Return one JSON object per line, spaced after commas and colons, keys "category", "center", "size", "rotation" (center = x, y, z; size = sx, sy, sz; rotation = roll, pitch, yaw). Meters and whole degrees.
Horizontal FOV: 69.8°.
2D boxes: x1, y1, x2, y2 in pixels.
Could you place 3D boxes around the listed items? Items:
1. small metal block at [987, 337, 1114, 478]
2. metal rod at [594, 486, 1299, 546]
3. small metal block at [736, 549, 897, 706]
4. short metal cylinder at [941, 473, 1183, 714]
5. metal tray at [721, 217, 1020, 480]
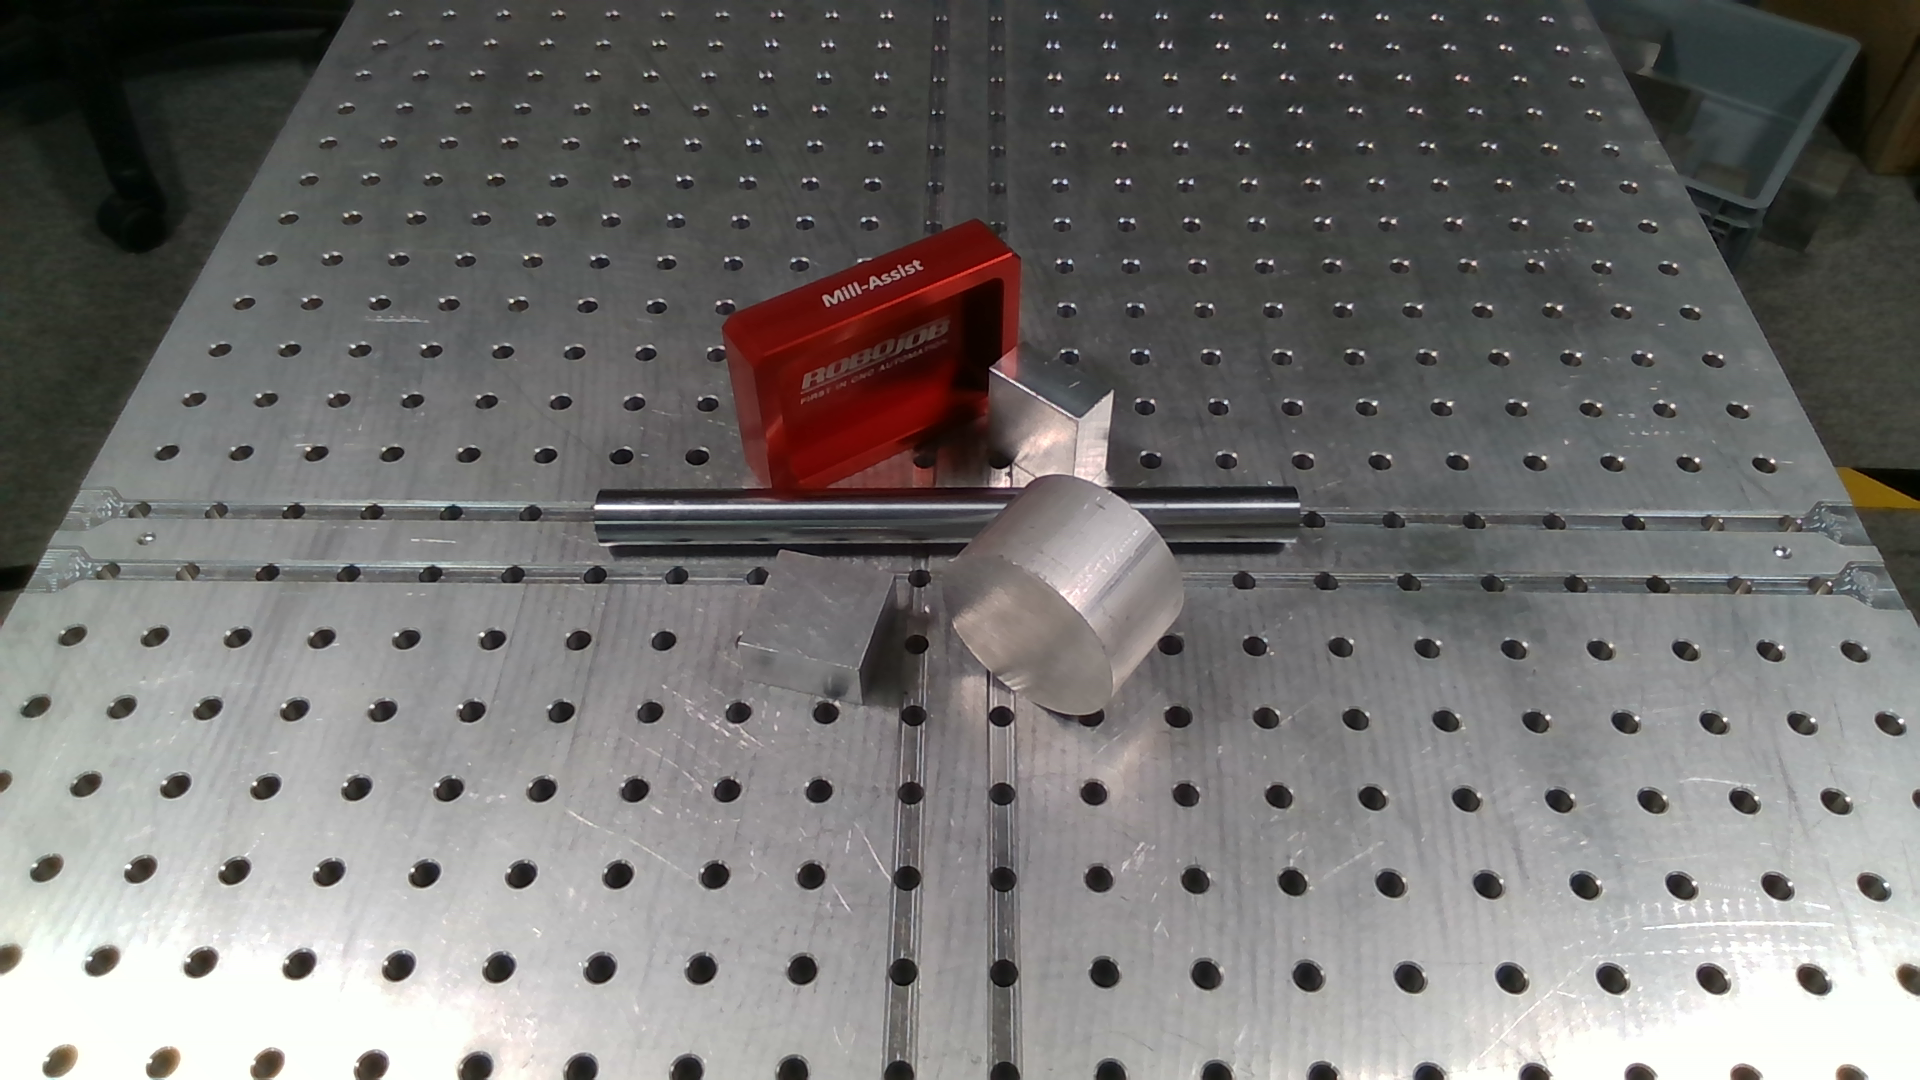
{"category": "small metal block", "center": [0.040, -0.055, 0.619], "size": [0.050, 0.050, 0.025], "rotation": [34, 58, 25]}
{"category": "metal rod", "center": [-0.006, -0.011, 0.598], "size": [0.300, 0.025, 0.025], "rotation": [0, 50, 0]}
{"category": "small metal block", "center": [-0.057, 0.035, 0.562], "size": [0.050, 0.025, 0.050], "rotation": [12, 51, 10]}
{"category": "short metal cylinder", "center": [0.039, 0.021, 0.536], "size": [0.080, 0.080, 0.050], "rotation": [30, 56, 23]}
{"category": "metal tray", "center": [-0.036, -0.080, 0.613], "size": [0.130, 0.090, 0.030], "rotation": [-26, 55, -20]}
